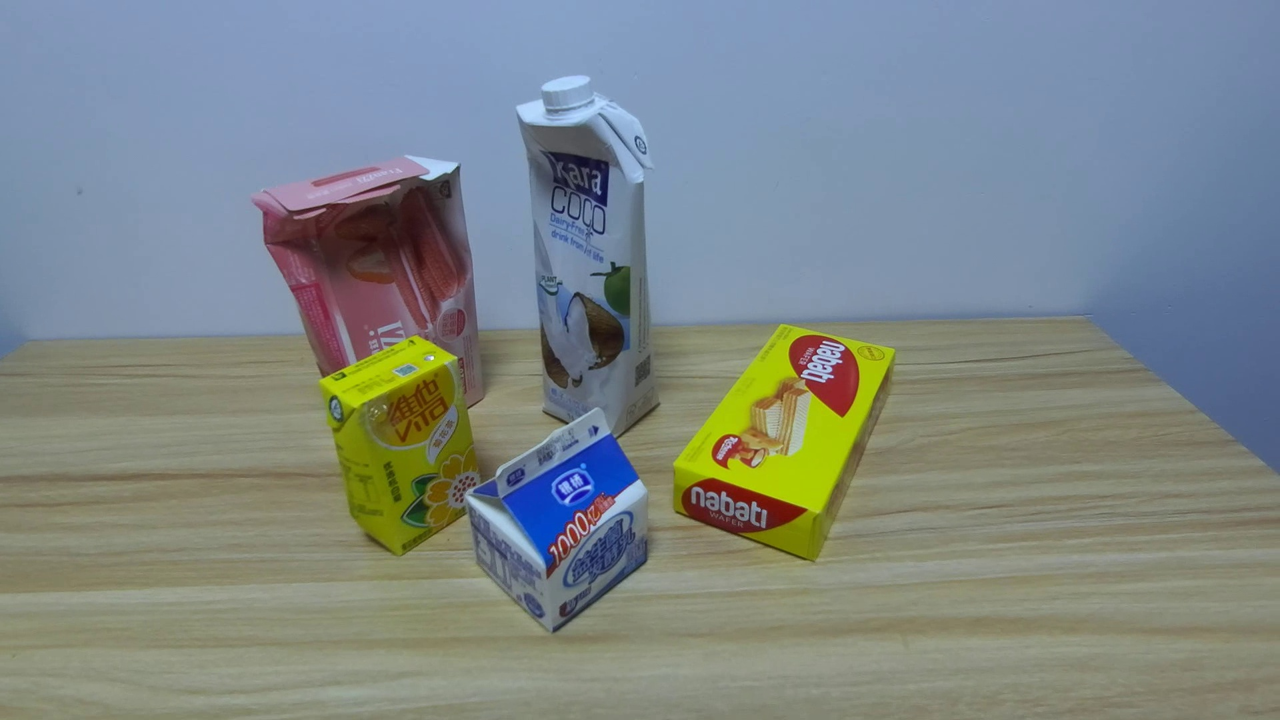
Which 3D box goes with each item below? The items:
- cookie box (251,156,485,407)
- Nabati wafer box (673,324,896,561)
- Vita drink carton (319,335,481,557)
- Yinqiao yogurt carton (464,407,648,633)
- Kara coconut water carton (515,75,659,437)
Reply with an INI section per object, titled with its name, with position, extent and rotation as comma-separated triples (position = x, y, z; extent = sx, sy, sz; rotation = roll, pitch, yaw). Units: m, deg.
[cookie box]
position = -0.169, -0.033, 0.477
extent = 0.055, 0.184, 0.119
rotation = 25, 41, 33
[Nabati wafer box]
position = 0.107, 0.043, 0.484
extent = 0.092, 0.042, 0.203
rotation = 16, 35, 24
[Vita drink carton]
position = -0.139, 0.052, 0.412
extent = 0.043, 0.109, 0.076
rotation = 24, 39, 34
[Yinqiao yogurt carton]
position = -0.045, 0.077, 0.385
extent = 0.076, 0.092, 0.073
rotation = -29, 42, -35
[Kara coconut water carton]
position = -0.033, -0.063, 0.473
extent = 0.114, 0.239, 0.069
rotation = 23, 40, 34
